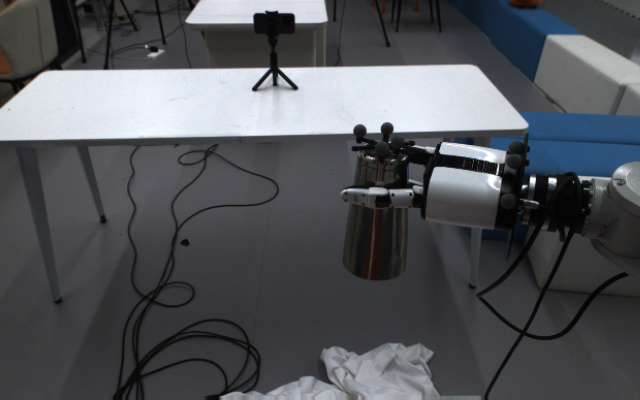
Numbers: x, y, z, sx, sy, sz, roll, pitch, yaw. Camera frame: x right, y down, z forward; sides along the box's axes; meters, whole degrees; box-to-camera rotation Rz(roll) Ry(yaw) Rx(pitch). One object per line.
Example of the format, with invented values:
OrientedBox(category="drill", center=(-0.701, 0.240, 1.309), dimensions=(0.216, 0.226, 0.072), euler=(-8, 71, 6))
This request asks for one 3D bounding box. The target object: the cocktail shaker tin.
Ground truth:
OrientedBox(category="cocktail shaker tin", center=(0.083, 0.011, 0.666), dimensions=(0.093, 0.170, 0.093), euler=(1, 27, -1))
